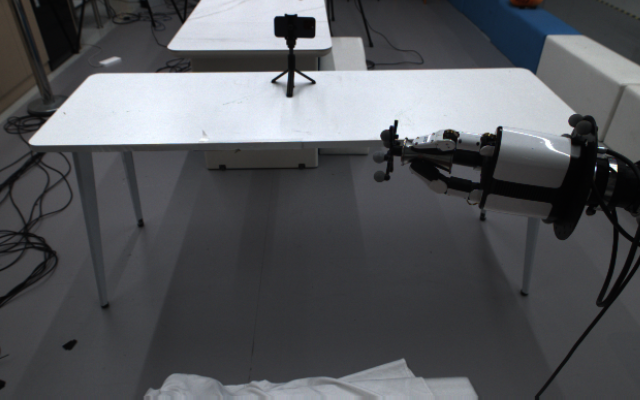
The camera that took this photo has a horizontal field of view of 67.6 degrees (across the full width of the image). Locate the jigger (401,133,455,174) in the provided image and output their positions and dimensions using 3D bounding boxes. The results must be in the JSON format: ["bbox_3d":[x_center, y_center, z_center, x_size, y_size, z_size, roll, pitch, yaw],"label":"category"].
[{"bbox_3d":[0.155,-0.067,0.666,0.071,0.043,0.043,10,35,15],"label":"jigger"}]
